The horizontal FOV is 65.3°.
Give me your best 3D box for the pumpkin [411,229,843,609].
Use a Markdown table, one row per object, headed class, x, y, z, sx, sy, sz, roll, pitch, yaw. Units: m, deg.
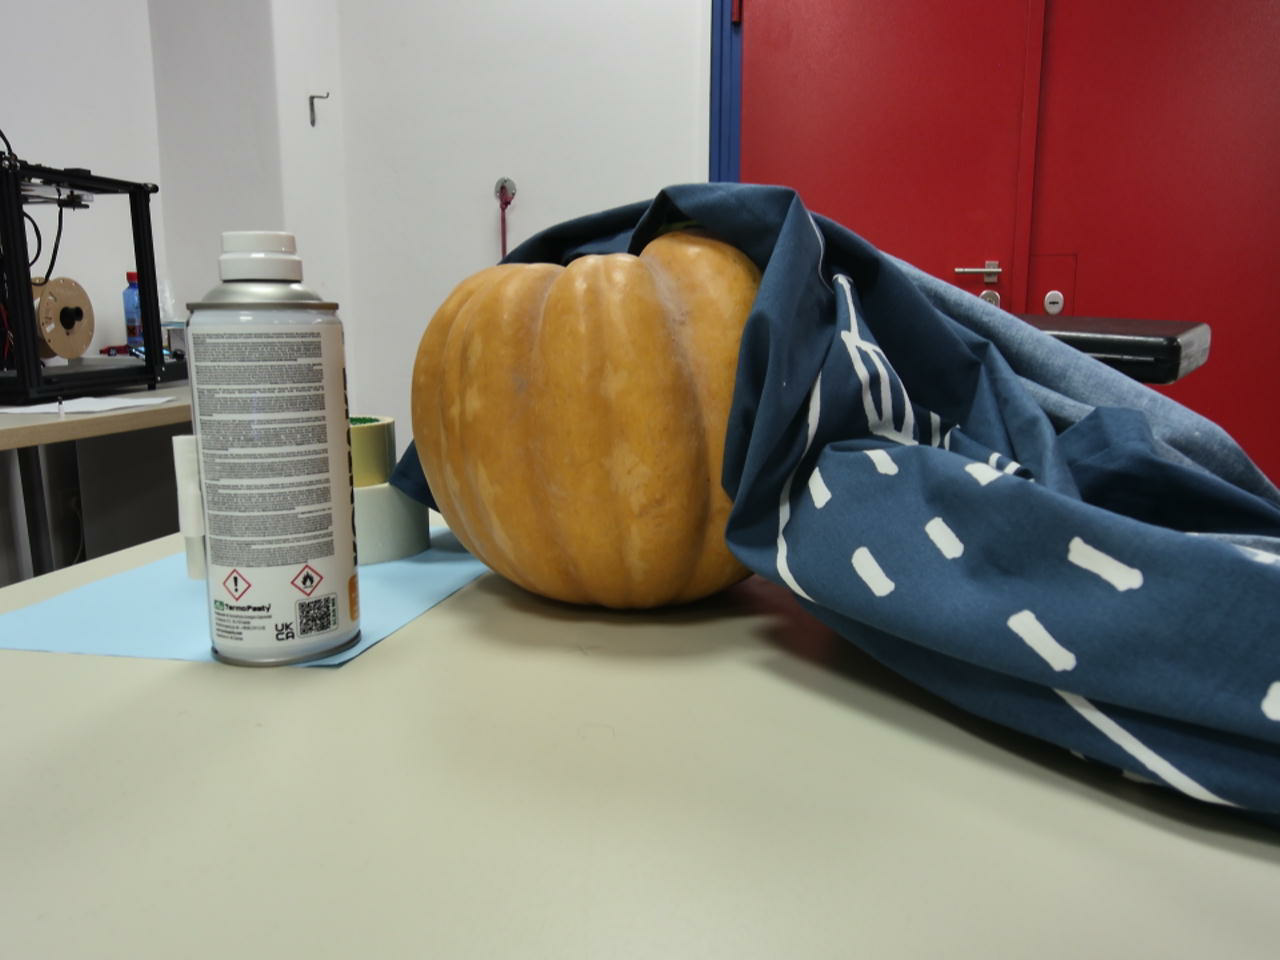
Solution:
| class | x | y | z | sx | sy | sz | roll | pitch | yaw |
| --- | --- | --- | --- | --- | --- | --- | --- | --- | --- |
| pumpkin | -0.004 | -0.032 | 0.538 | 0.230 | 0.194 | 0.230 | -1 | 6 | 0 |
